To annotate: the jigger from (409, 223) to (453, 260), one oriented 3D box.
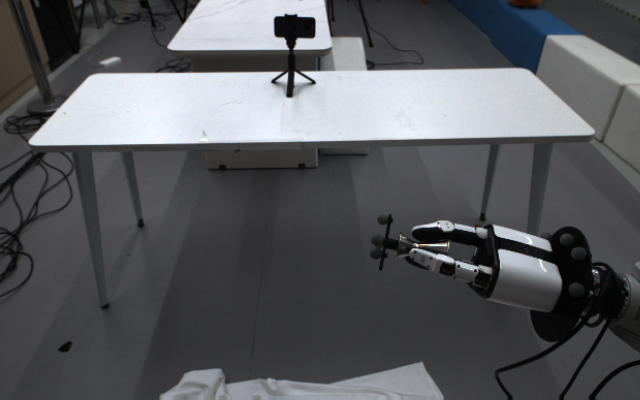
[{"bbox_3d":[0.150,0.063,0.680,0.071,0.043,0.043,9,35,9],"label":"jigger"}]
